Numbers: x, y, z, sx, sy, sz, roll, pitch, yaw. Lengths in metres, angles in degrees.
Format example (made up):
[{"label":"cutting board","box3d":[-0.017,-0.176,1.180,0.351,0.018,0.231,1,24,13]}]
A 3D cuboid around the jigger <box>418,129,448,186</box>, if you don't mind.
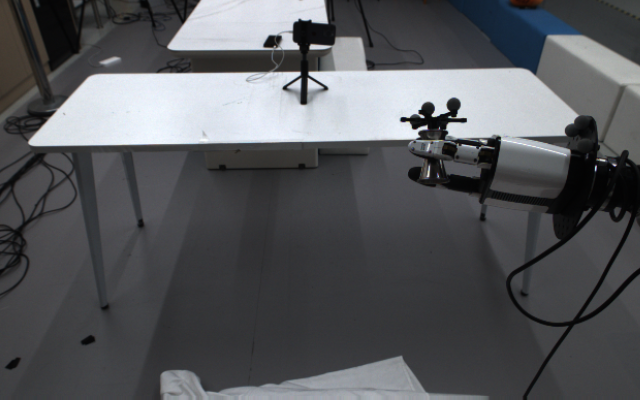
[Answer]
[{"label":"jigger","box3d":[0.151,-0.059,0.658,0.043,0.071,0.043,3,-6,0]}]
